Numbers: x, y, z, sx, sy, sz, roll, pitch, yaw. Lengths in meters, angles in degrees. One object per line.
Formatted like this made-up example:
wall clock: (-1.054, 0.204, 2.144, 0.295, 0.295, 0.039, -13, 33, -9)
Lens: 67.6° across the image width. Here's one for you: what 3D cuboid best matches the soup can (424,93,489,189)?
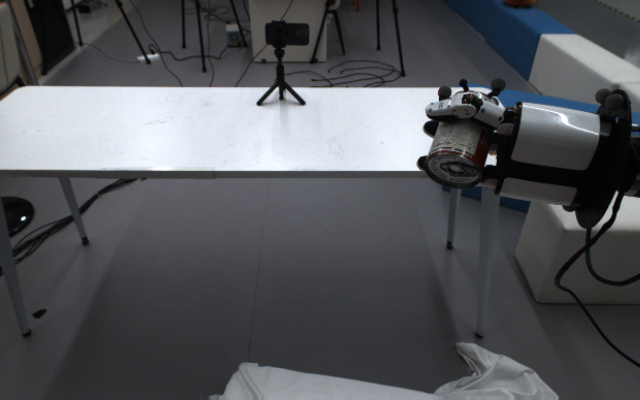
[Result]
soup can: (0.174, -0.076, 0.591, 0.067, 0.067, 0.101, 15, 64, 18)
